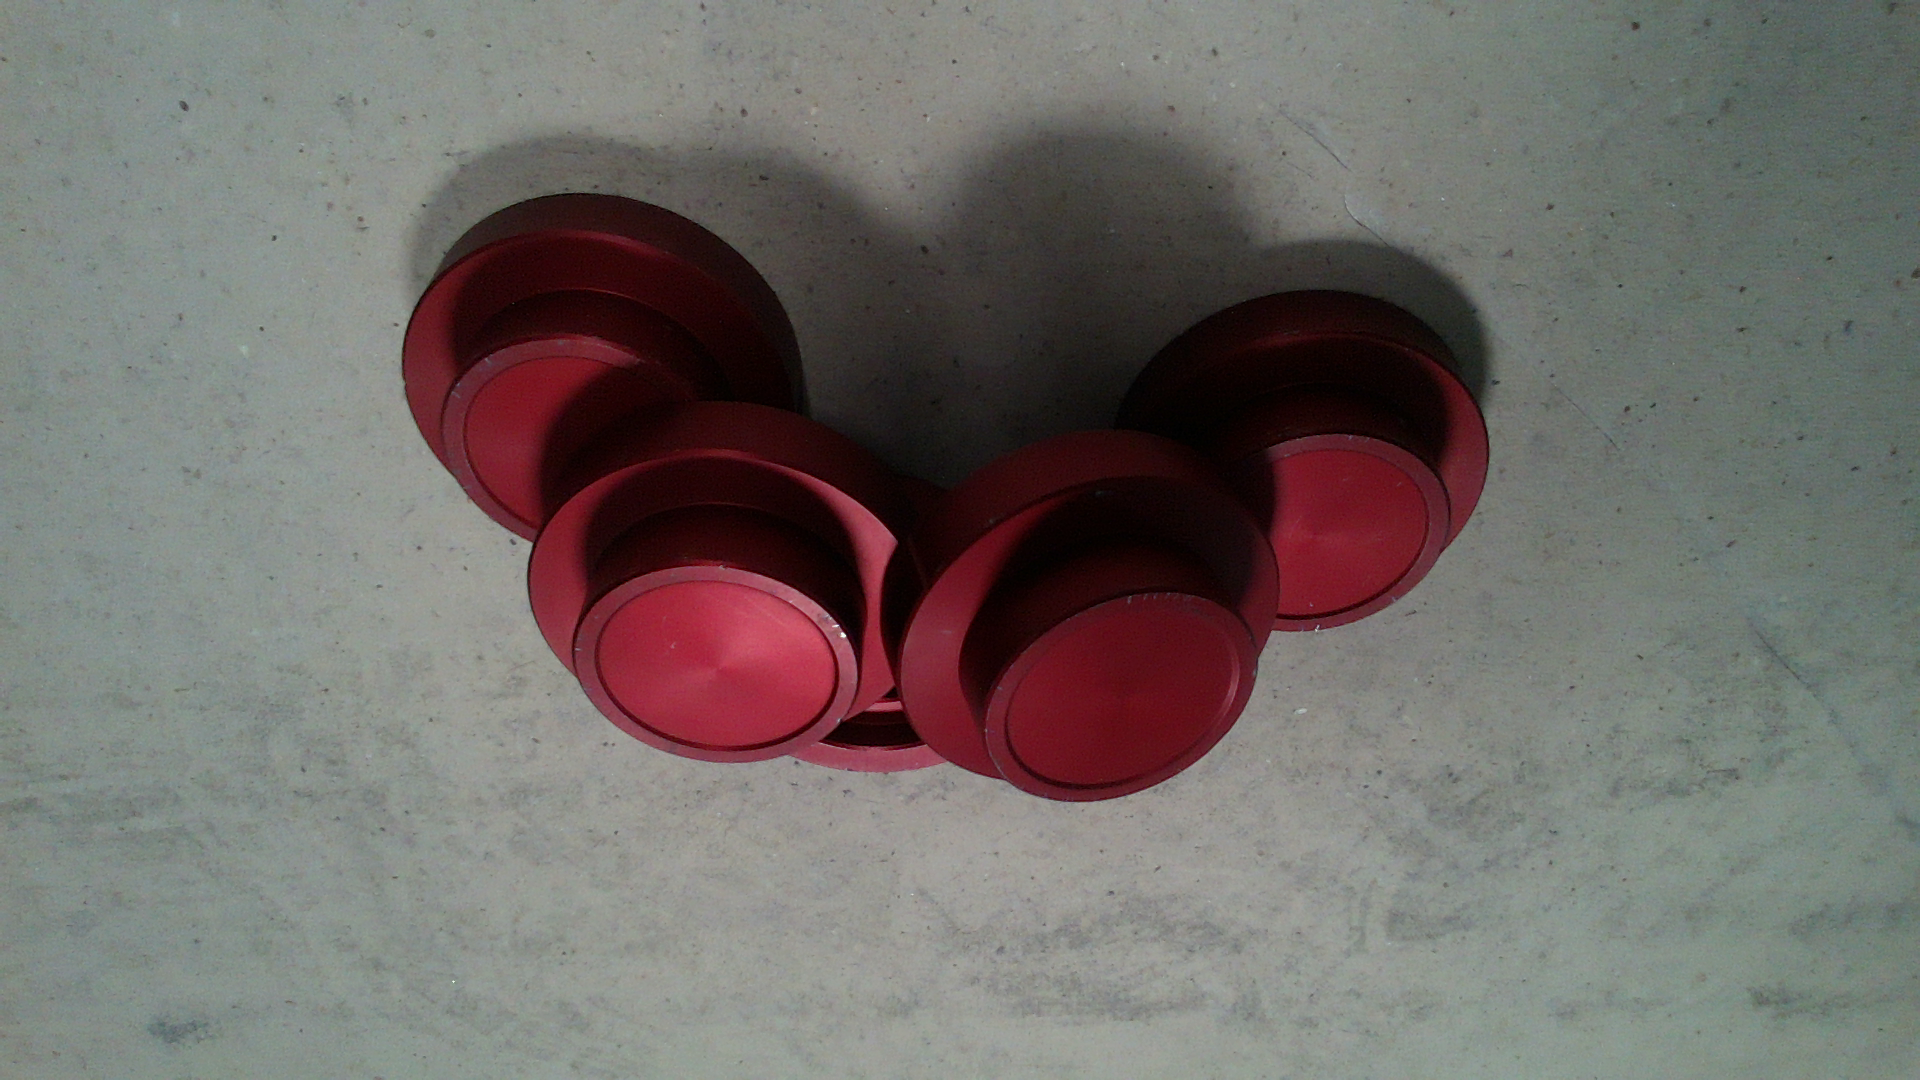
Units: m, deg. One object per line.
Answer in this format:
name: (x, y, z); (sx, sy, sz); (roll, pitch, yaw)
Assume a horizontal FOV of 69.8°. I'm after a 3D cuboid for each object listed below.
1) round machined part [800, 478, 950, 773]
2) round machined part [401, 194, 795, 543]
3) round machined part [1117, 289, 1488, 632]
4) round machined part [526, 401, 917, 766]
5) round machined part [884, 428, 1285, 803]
round machined part: (-0.025, 0.019, 0.396); (0.098, 0.042, 0.098); (0, 130, 0)
round machined part: (-0.092, -0.034, 0.350); (0.098, 0.042, 0.098); (0, 130, 0)
round machined part: (0.091, -0.014, 0.368); (0.098, 0.042, 0.098); (0, 130, 0)
round machined part: (-0.057, 0.018, 0.339); (0.098, 0.042, 0.098); (0, 130, 0)
round machined part: (0.033, 0.025, 0.332); (0.098, 0.042, 0.098); (-8, 129, -10)
